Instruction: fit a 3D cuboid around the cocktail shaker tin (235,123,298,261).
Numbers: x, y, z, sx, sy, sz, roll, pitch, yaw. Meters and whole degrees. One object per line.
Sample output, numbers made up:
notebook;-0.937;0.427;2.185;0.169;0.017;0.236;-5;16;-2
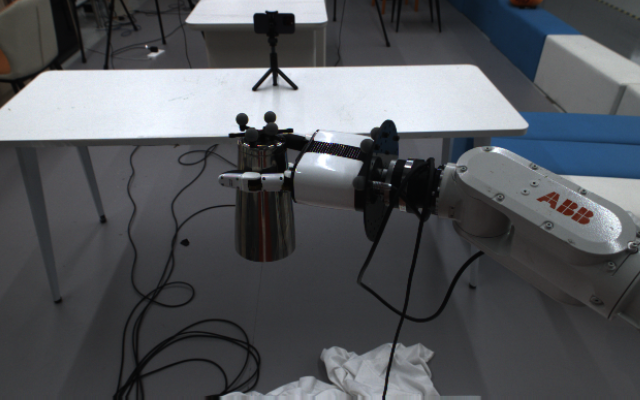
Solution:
cocktail shaker tin;-0.079;-0.011;0.698;0.093;0.170;0.093;1;27;-1
